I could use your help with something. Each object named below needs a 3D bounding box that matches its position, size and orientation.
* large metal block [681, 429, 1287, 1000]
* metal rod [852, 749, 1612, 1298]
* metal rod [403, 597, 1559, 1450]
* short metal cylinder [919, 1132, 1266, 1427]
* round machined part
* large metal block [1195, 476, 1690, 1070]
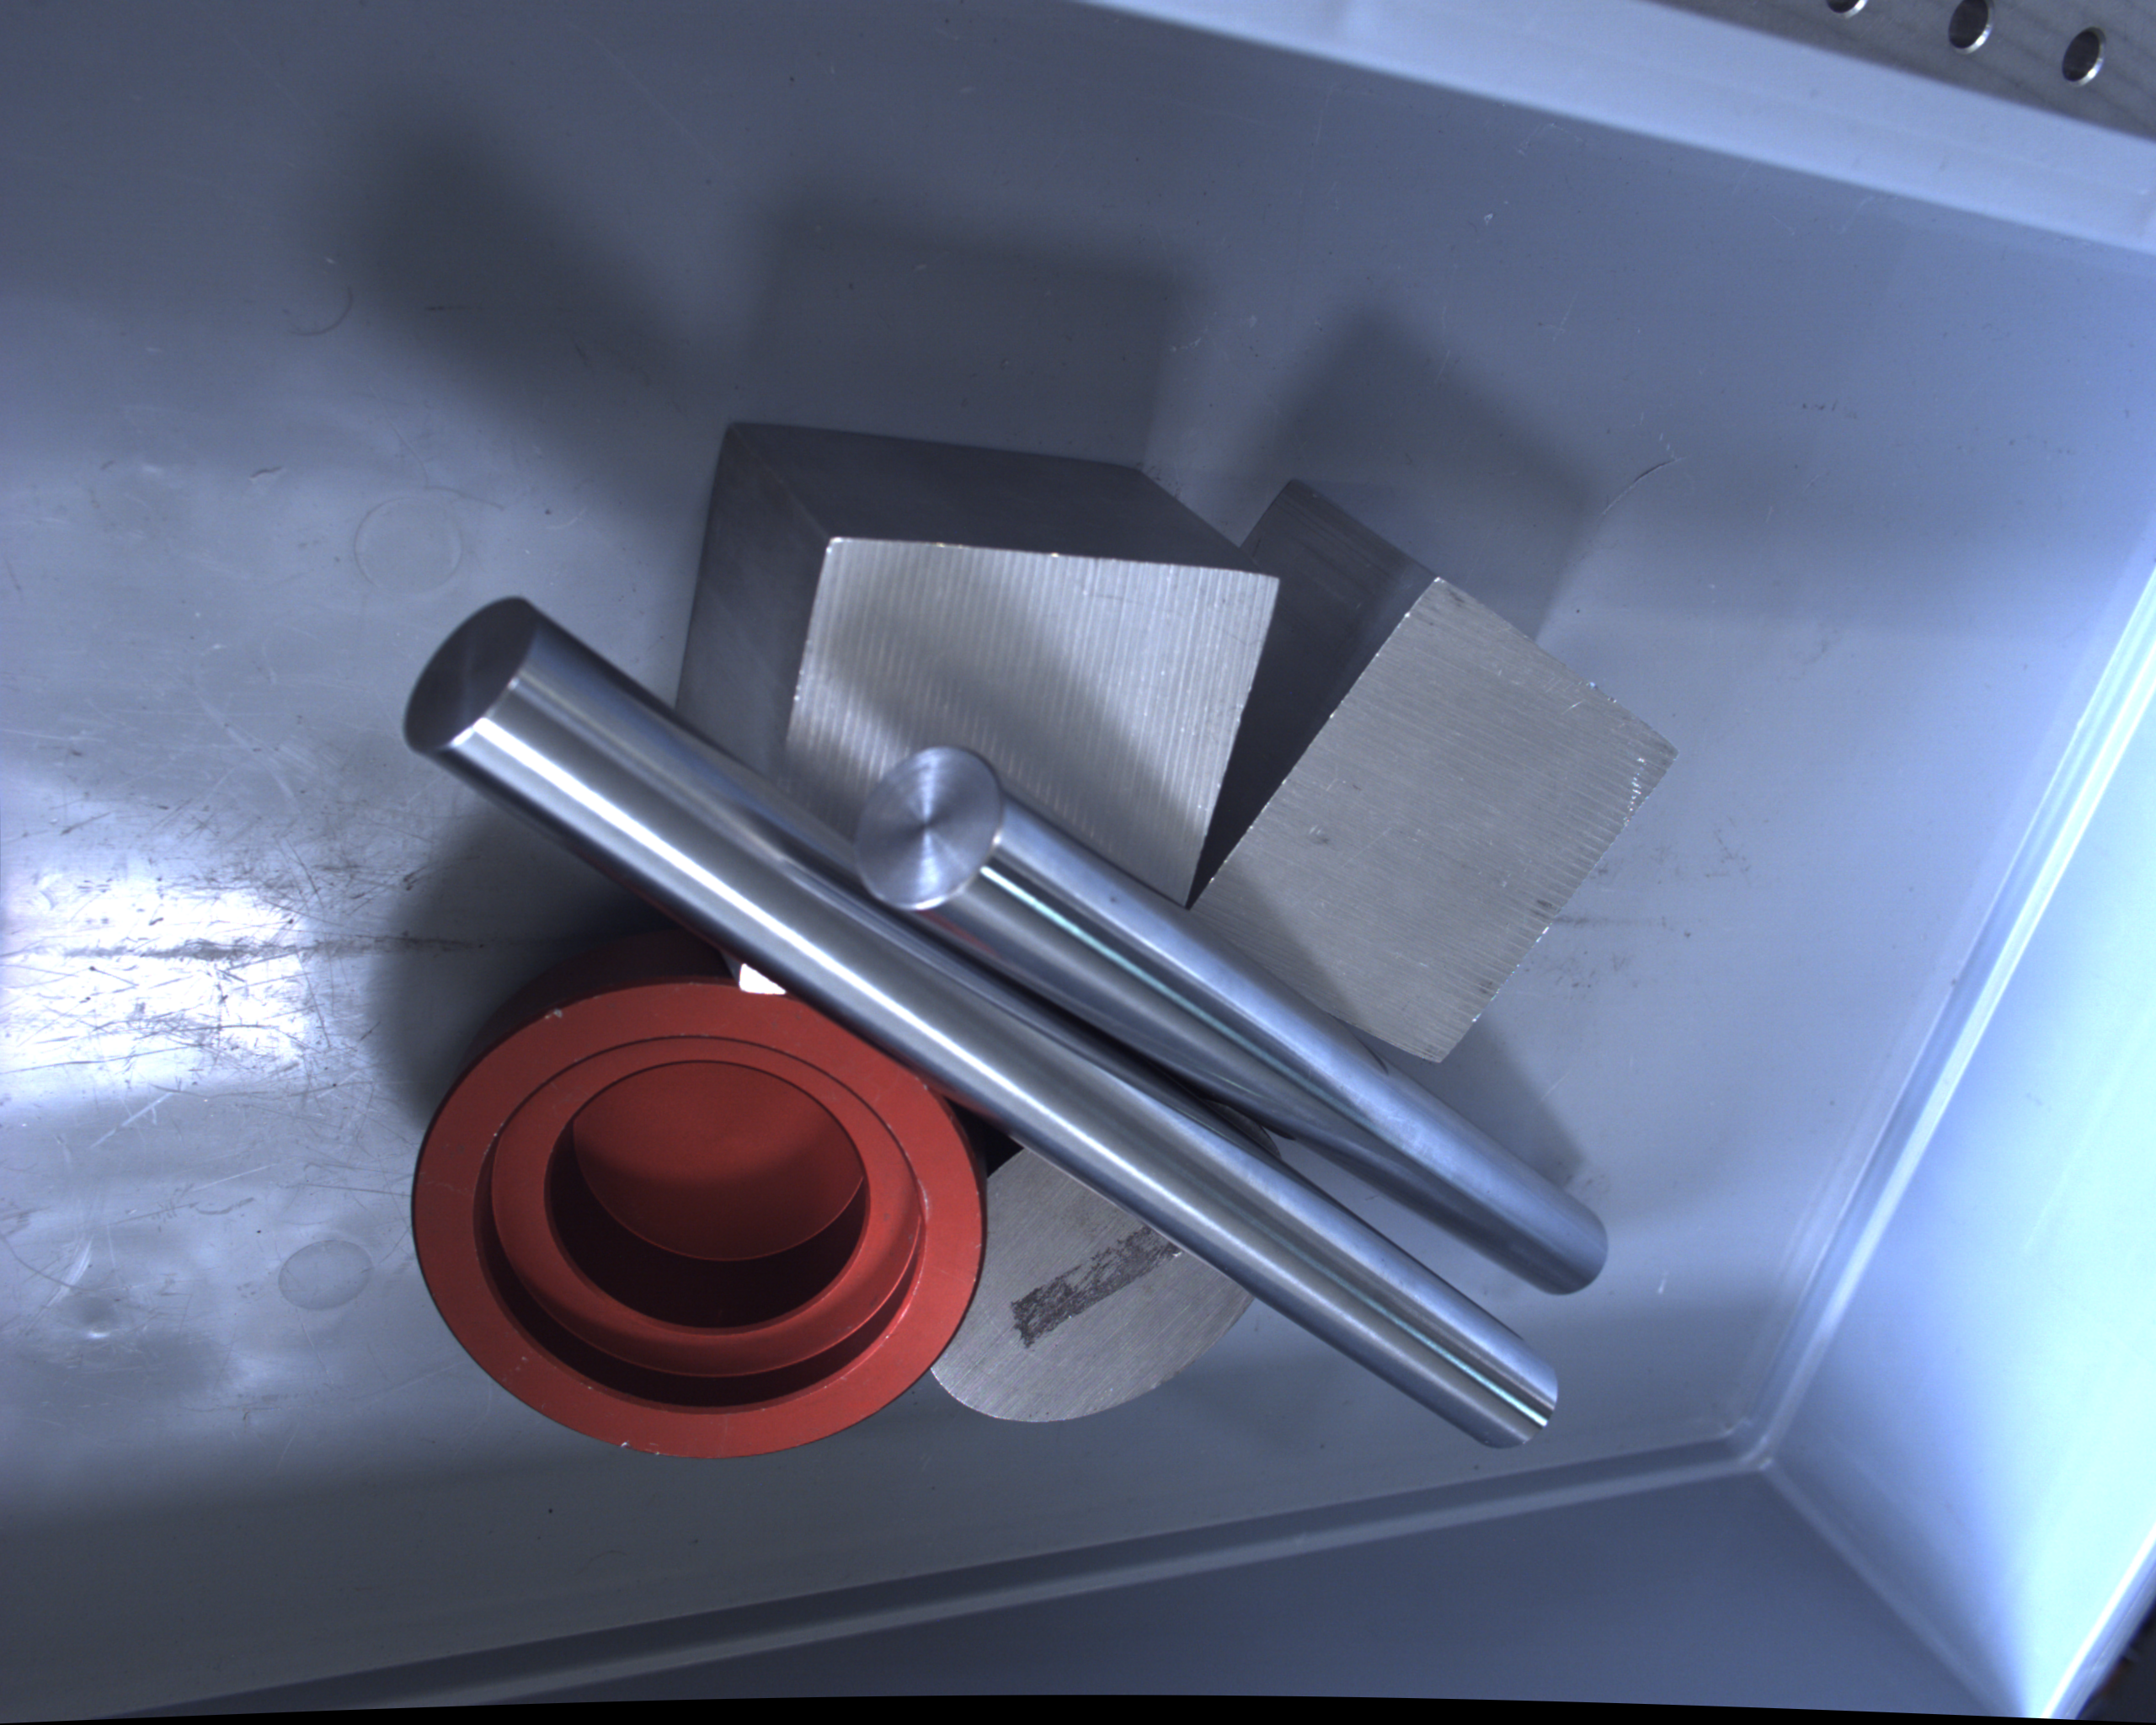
[{"bbox_3d":[-0.021,-0.024,0.360,0.081,0.050,0.079,1,118,-29],"label":"large metal block"},{"bbox_3d":[0.052,0.048,0.416,0.025,0.025,0.301,-48,144,5],"label":"metal rod"},{"bbox_3d":[0.008,0.048,0.374,0.025,0.025,0.301,-47,130,5],"label":"metal rod"},{"bbox_3d":[-0.004,0.068,0.429,0.081,0.050,0.079,-14,124,-21],"label":"short metal cylinder"},{"bbox_3d":[-0.066,0.056,0.380,0.099,0.042,0.097,-1,113,-3],"label":"round machined part"},{"bbox_3d":[0.058,-0.016,0.411,0.080,0.050,0.080,27,104,-38],"label":"large metal block"}]
